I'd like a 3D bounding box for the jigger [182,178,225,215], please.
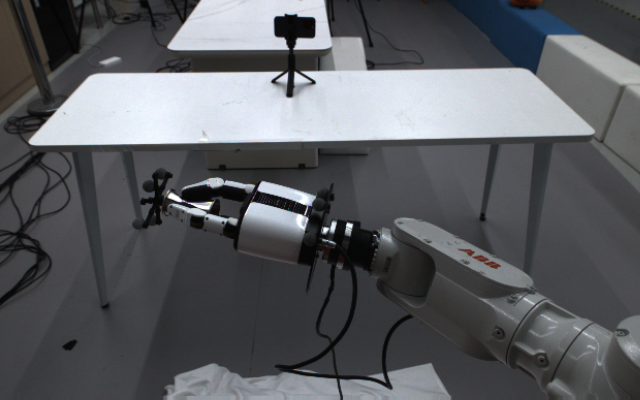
[{"bbox_3d":[-0.173,0.010,0.675,0.071,0.043,0.043,14,36,5],"label":"jigger"}]
